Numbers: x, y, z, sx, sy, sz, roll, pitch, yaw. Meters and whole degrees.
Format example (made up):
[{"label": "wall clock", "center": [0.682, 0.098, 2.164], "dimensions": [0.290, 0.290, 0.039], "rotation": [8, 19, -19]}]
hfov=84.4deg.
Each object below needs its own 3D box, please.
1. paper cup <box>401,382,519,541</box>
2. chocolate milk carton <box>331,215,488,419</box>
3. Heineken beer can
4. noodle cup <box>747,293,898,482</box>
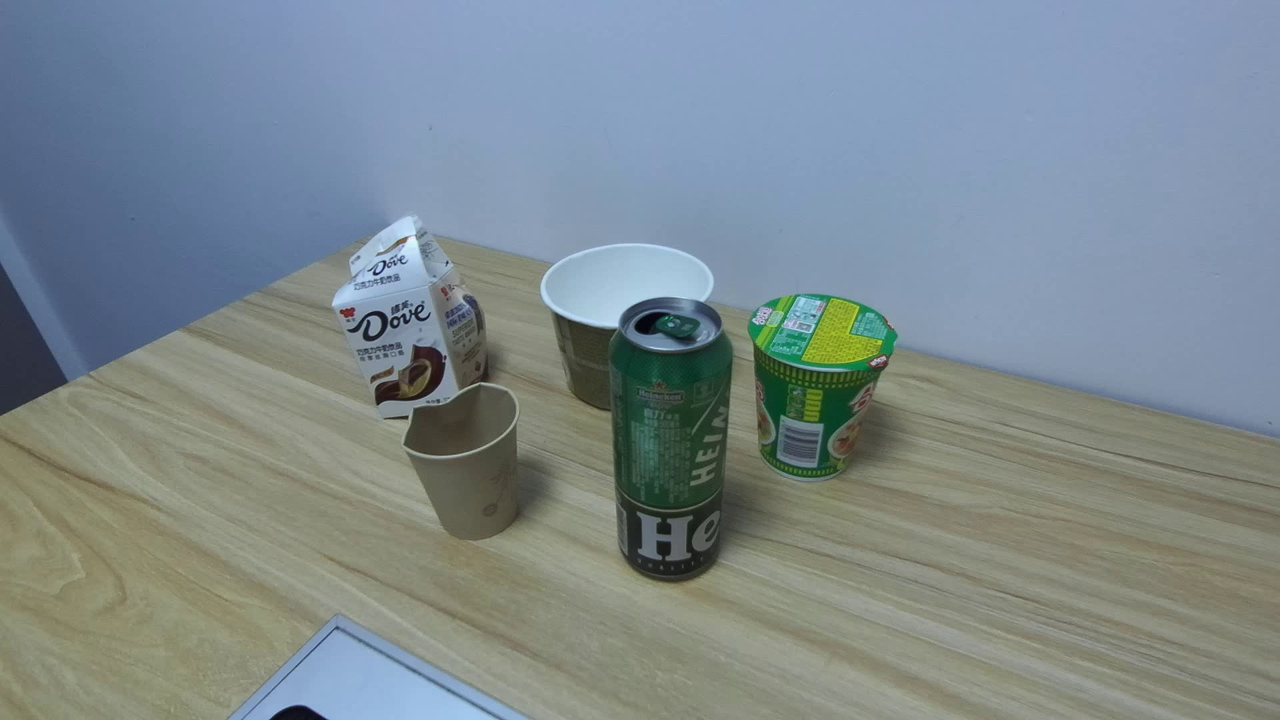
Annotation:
[{"label": "paper cup", "center": [-0.110, 0.071, 0.470], "dimensions": [0.069, 0.081, 0.073], "rotation": [-2, 34, 0]}, {"label": "chocolate milk carton", "center": [-0.183, -0.033, 0.569], "dimensions": [0.089, 0.156, 0.076], "rotation": [-12, 30, 8]}, {"label": "Heineken beer can", "center": [0.018, 0.051, 0.416], "dimensions": [0.067, 0.169, 0.067], "rotation": [-1, 33, 1]}, {"label": "noodle cup", "center": [0.123, 0.024, 0.504], "dimensions": [0.097, 0.110, 0.097], "rotation": [0, 34, 1]}]
